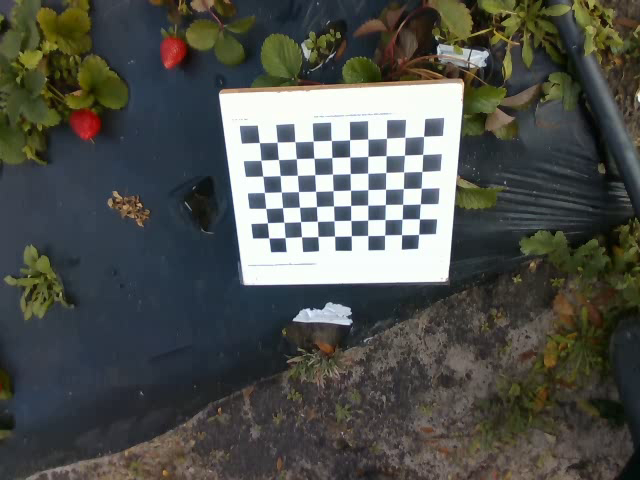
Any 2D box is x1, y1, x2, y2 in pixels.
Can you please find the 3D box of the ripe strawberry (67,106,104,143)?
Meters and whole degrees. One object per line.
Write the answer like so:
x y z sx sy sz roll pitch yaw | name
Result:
-0.318 -0.150 0.826 0.050 0.050 0.046 -4 -43 -4 | ripe strawberry

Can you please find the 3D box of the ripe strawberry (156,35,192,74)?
-0.192 -0.236 0.787 0.044 0.052 0.041 16 -18 -15 | ripe strawberry
